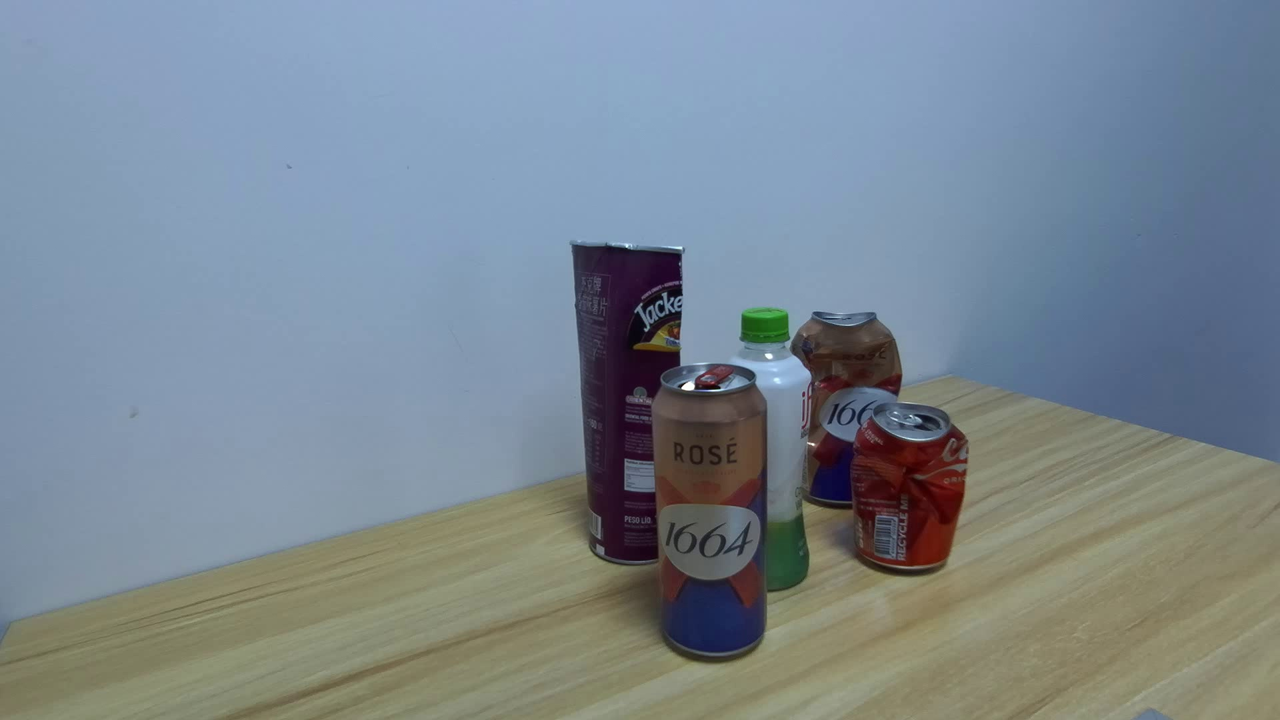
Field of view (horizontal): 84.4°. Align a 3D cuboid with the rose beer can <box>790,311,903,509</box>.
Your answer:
[{"bbox_3d":[0.169,0.041,0.593,0.074,0.162,0.068,-9,16,-25],"label":"rose beer can"}]

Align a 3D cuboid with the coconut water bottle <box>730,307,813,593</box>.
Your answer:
[{"bbox_3d":[0.086,0.061,0.485,0.063,0.188,0.063,-2,14,1],"label":"coconut water bottle"}]

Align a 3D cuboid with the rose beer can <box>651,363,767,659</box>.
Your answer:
[{"bbox_3d":[0.043,0.091,0.424,0.068,0.169,0.068,-1,15,1],"label":"rose beer can"}]

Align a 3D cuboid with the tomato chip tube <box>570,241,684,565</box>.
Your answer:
[{"bbox_3d":[-0.006,0.031,0.525,0.078,0.236,0.090,-4,15,-4],"label":"tomato chip tube"}]
